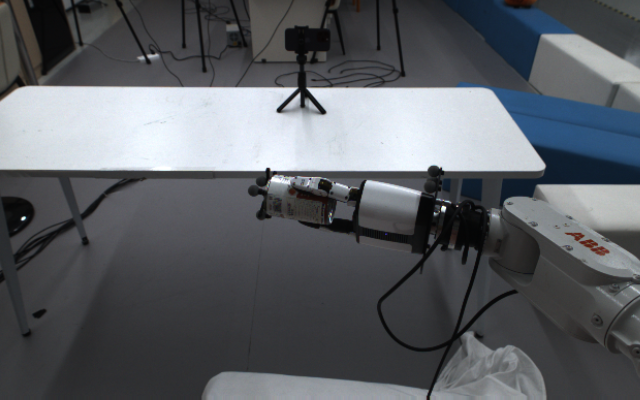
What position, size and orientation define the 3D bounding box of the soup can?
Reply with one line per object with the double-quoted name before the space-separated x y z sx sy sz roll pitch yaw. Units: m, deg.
"soup can" -0.027 0.000 0.753 0.101 0.067 0.067 9 35 10
